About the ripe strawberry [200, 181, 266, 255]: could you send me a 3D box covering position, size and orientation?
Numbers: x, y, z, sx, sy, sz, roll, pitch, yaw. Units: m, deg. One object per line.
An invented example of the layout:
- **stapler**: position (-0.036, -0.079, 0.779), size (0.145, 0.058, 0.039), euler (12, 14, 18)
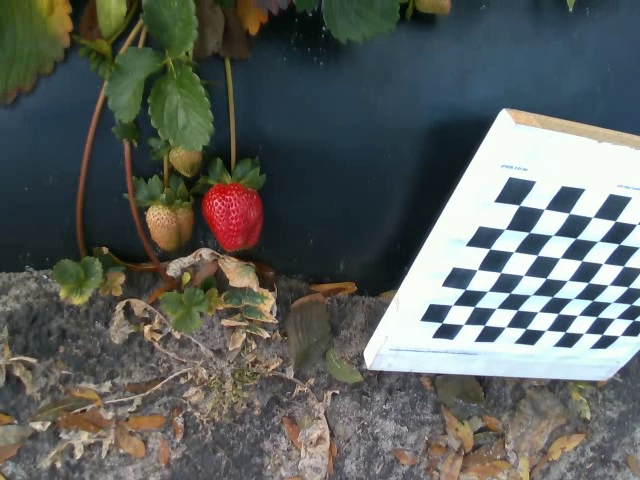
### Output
- **ripe strawberry**: position (-0.069, -0.013, 0.454), size (0.066, 0.075, 0.053), euler (-8, 44, -6)
